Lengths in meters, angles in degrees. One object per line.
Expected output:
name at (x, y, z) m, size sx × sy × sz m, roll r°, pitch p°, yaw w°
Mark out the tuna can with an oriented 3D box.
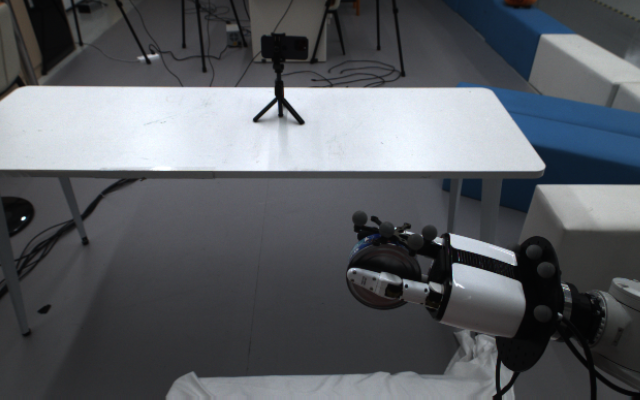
tuna can at (0.076, 0.080, 0.565) m, size 0.085 × 0.085 × 0.034 m, roll 5°, pitch 18°, yaw 4°
